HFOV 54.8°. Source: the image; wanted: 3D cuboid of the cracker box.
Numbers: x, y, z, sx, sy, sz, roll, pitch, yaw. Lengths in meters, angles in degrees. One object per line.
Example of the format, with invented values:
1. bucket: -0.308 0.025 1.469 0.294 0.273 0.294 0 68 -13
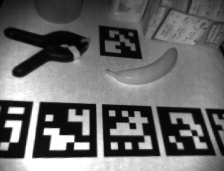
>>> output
1. cracker box: 0.203 -0.193 0.536 0.214 0.164 0.071 4 51 -9

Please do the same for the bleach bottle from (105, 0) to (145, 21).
1. bleach bottle: 0.052 -0.279 0.524 0.103 0.251 0.067 3 53 -11

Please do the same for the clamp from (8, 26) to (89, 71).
1. clamp: -0.130 -0.089 0.470 0.167 0.036 0.121 -10 56 -23

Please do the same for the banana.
1. banana: 0.086 -0.052 0.509 0.199 0.039 0.073 -27 65 -30

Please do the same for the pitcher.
1. pitcher: -0.126 -0.270 0.446 0.190 0.242 0.132 -12 57 -24
